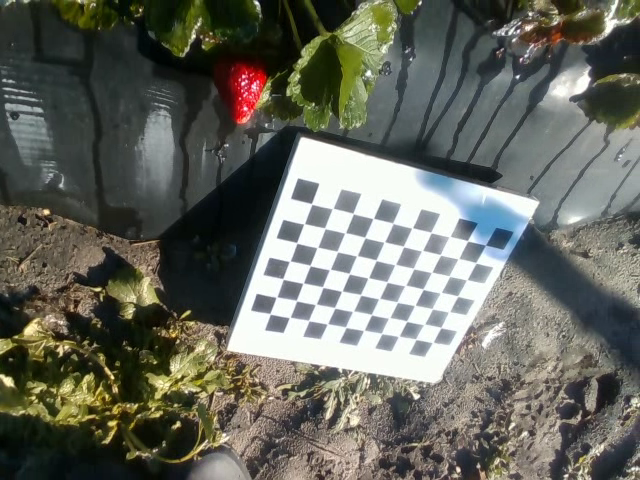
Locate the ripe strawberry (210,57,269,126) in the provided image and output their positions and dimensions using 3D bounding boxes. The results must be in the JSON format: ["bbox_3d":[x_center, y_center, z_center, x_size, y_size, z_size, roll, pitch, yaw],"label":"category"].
[{"bbox_3d":[-0.056,-0.106,0.431,0.041,0.053,0.047,6,-10,-16],"label":"ripe strawberry"}]
